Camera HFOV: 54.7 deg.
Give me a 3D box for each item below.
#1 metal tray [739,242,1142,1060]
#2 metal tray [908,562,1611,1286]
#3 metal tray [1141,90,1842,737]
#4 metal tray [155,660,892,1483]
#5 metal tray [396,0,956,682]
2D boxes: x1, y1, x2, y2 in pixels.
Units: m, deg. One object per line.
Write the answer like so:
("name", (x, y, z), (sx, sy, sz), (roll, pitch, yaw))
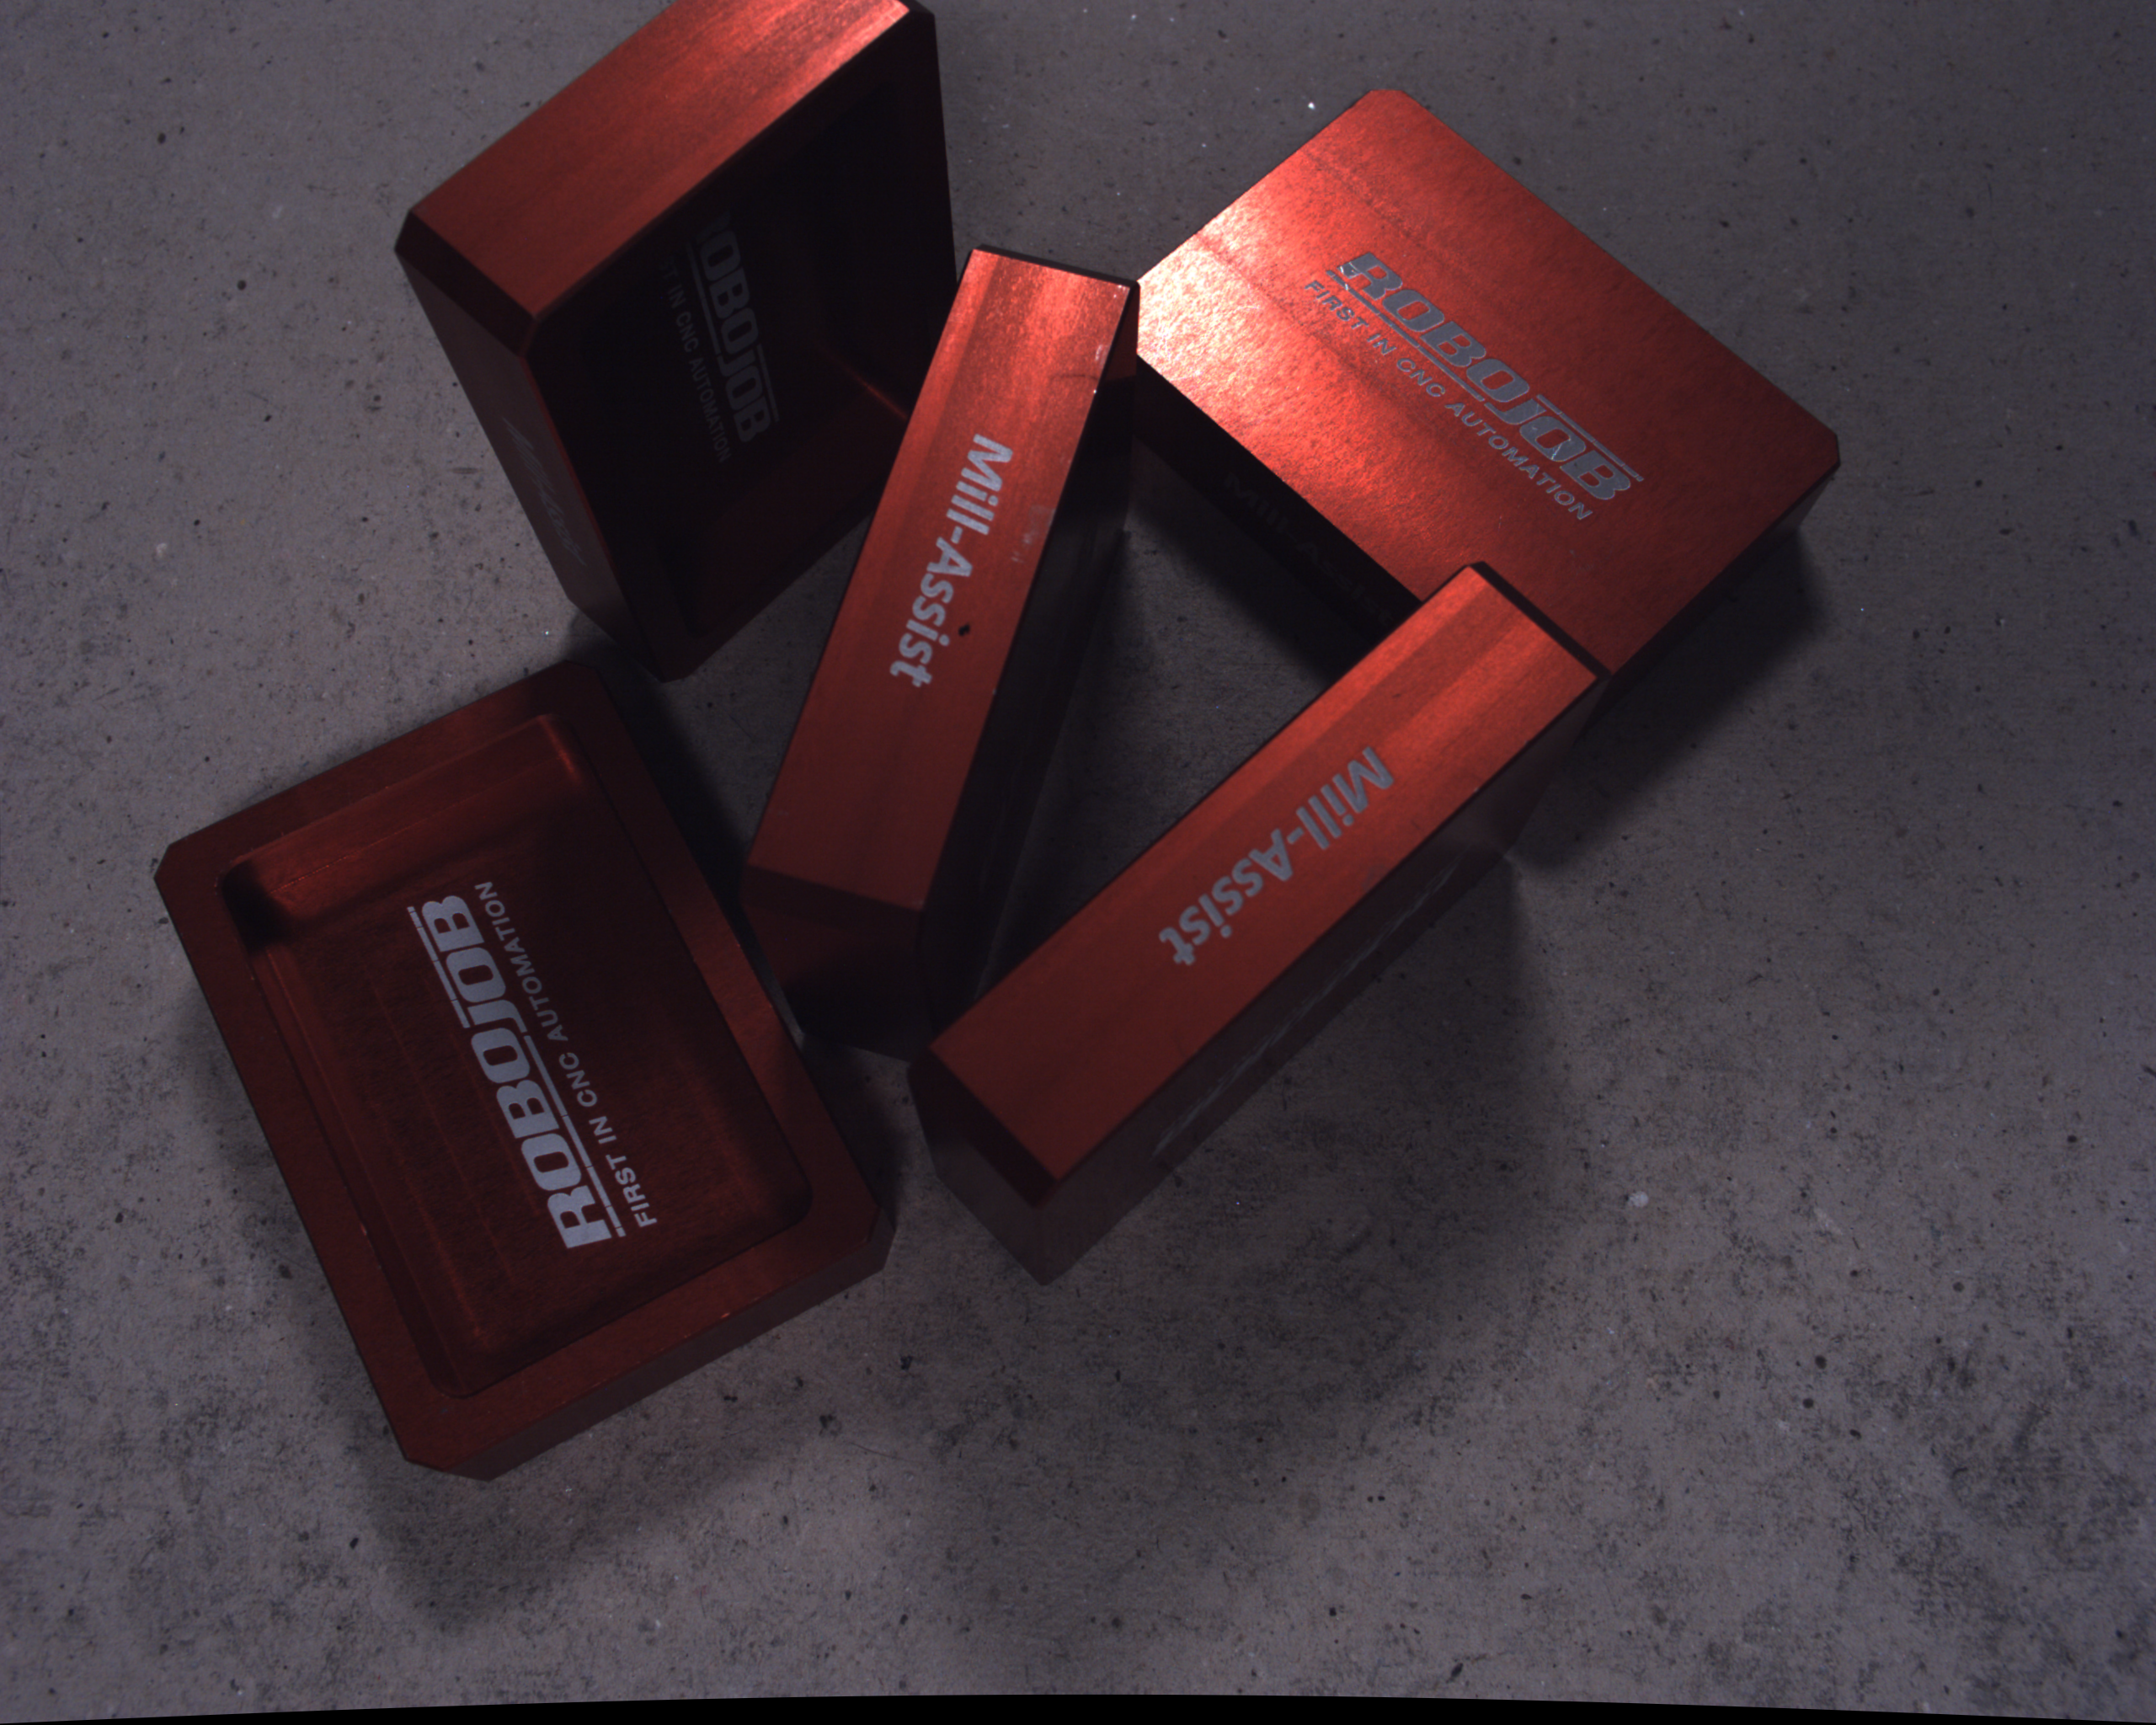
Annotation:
("metal tray", (-0.021, -0.035, 0.387), (0.030, 0.090, 0.130), (16, 71, 5))
("metal tray", (0.031, 0.014, 0.370), (0.130, 0.090, 0.030), (-42, 76, -14))
("metal tray", (0.081, -0.094, 0.442), (0.090, 0.030, 0.130), (-43, 76, -14))
("metal tray", (-0.103, 0.037, 0.392), (0.090, 0.030, 0.130), (-27, 73, -10))
("metal tray", (-0.065, -0.097, 0.388), (0.030, 0.130, 0.090), (42, 75, 13))
